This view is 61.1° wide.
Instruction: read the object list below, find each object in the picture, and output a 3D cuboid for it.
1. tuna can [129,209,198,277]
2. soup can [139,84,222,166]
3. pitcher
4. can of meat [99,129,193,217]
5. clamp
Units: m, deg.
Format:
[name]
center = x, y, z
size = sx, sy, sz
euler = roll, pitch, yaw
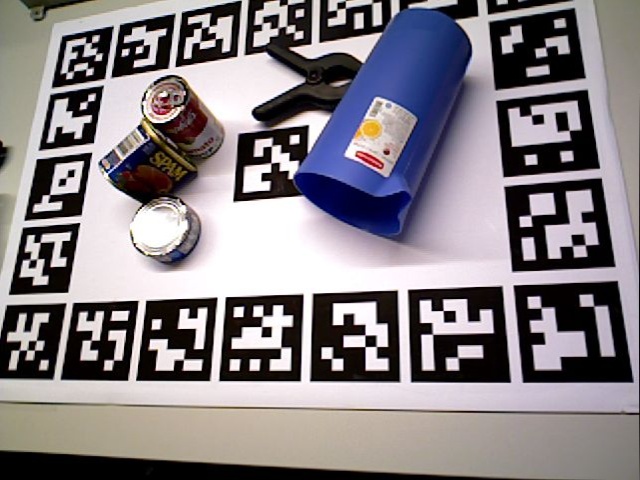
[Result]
[tuna can]
center = -0.204, 0.005, 0.714
size = 0.086, 0.034, 0.085
euler = -5, 73, 15
[soup can]
center = -0.182, -0.150, 0.721
size = 0.068, 0.102, 0.067
euler = -5, 72, 17
[pitcher]
center = 0.071, -0.124, 0.614
size = 0.190, 0.133, 0.240
euler = 12, 68, 42
[can of meat]
center = -0.230, -0.083, 0.710
size = 0.084, 0.102, 0.057
euler = -39, 67, 5
[clamp]
center = -0.020, -0.202, 0.733
size = 0.165, 0.037, 0.120
euler = -1, 69, 13
